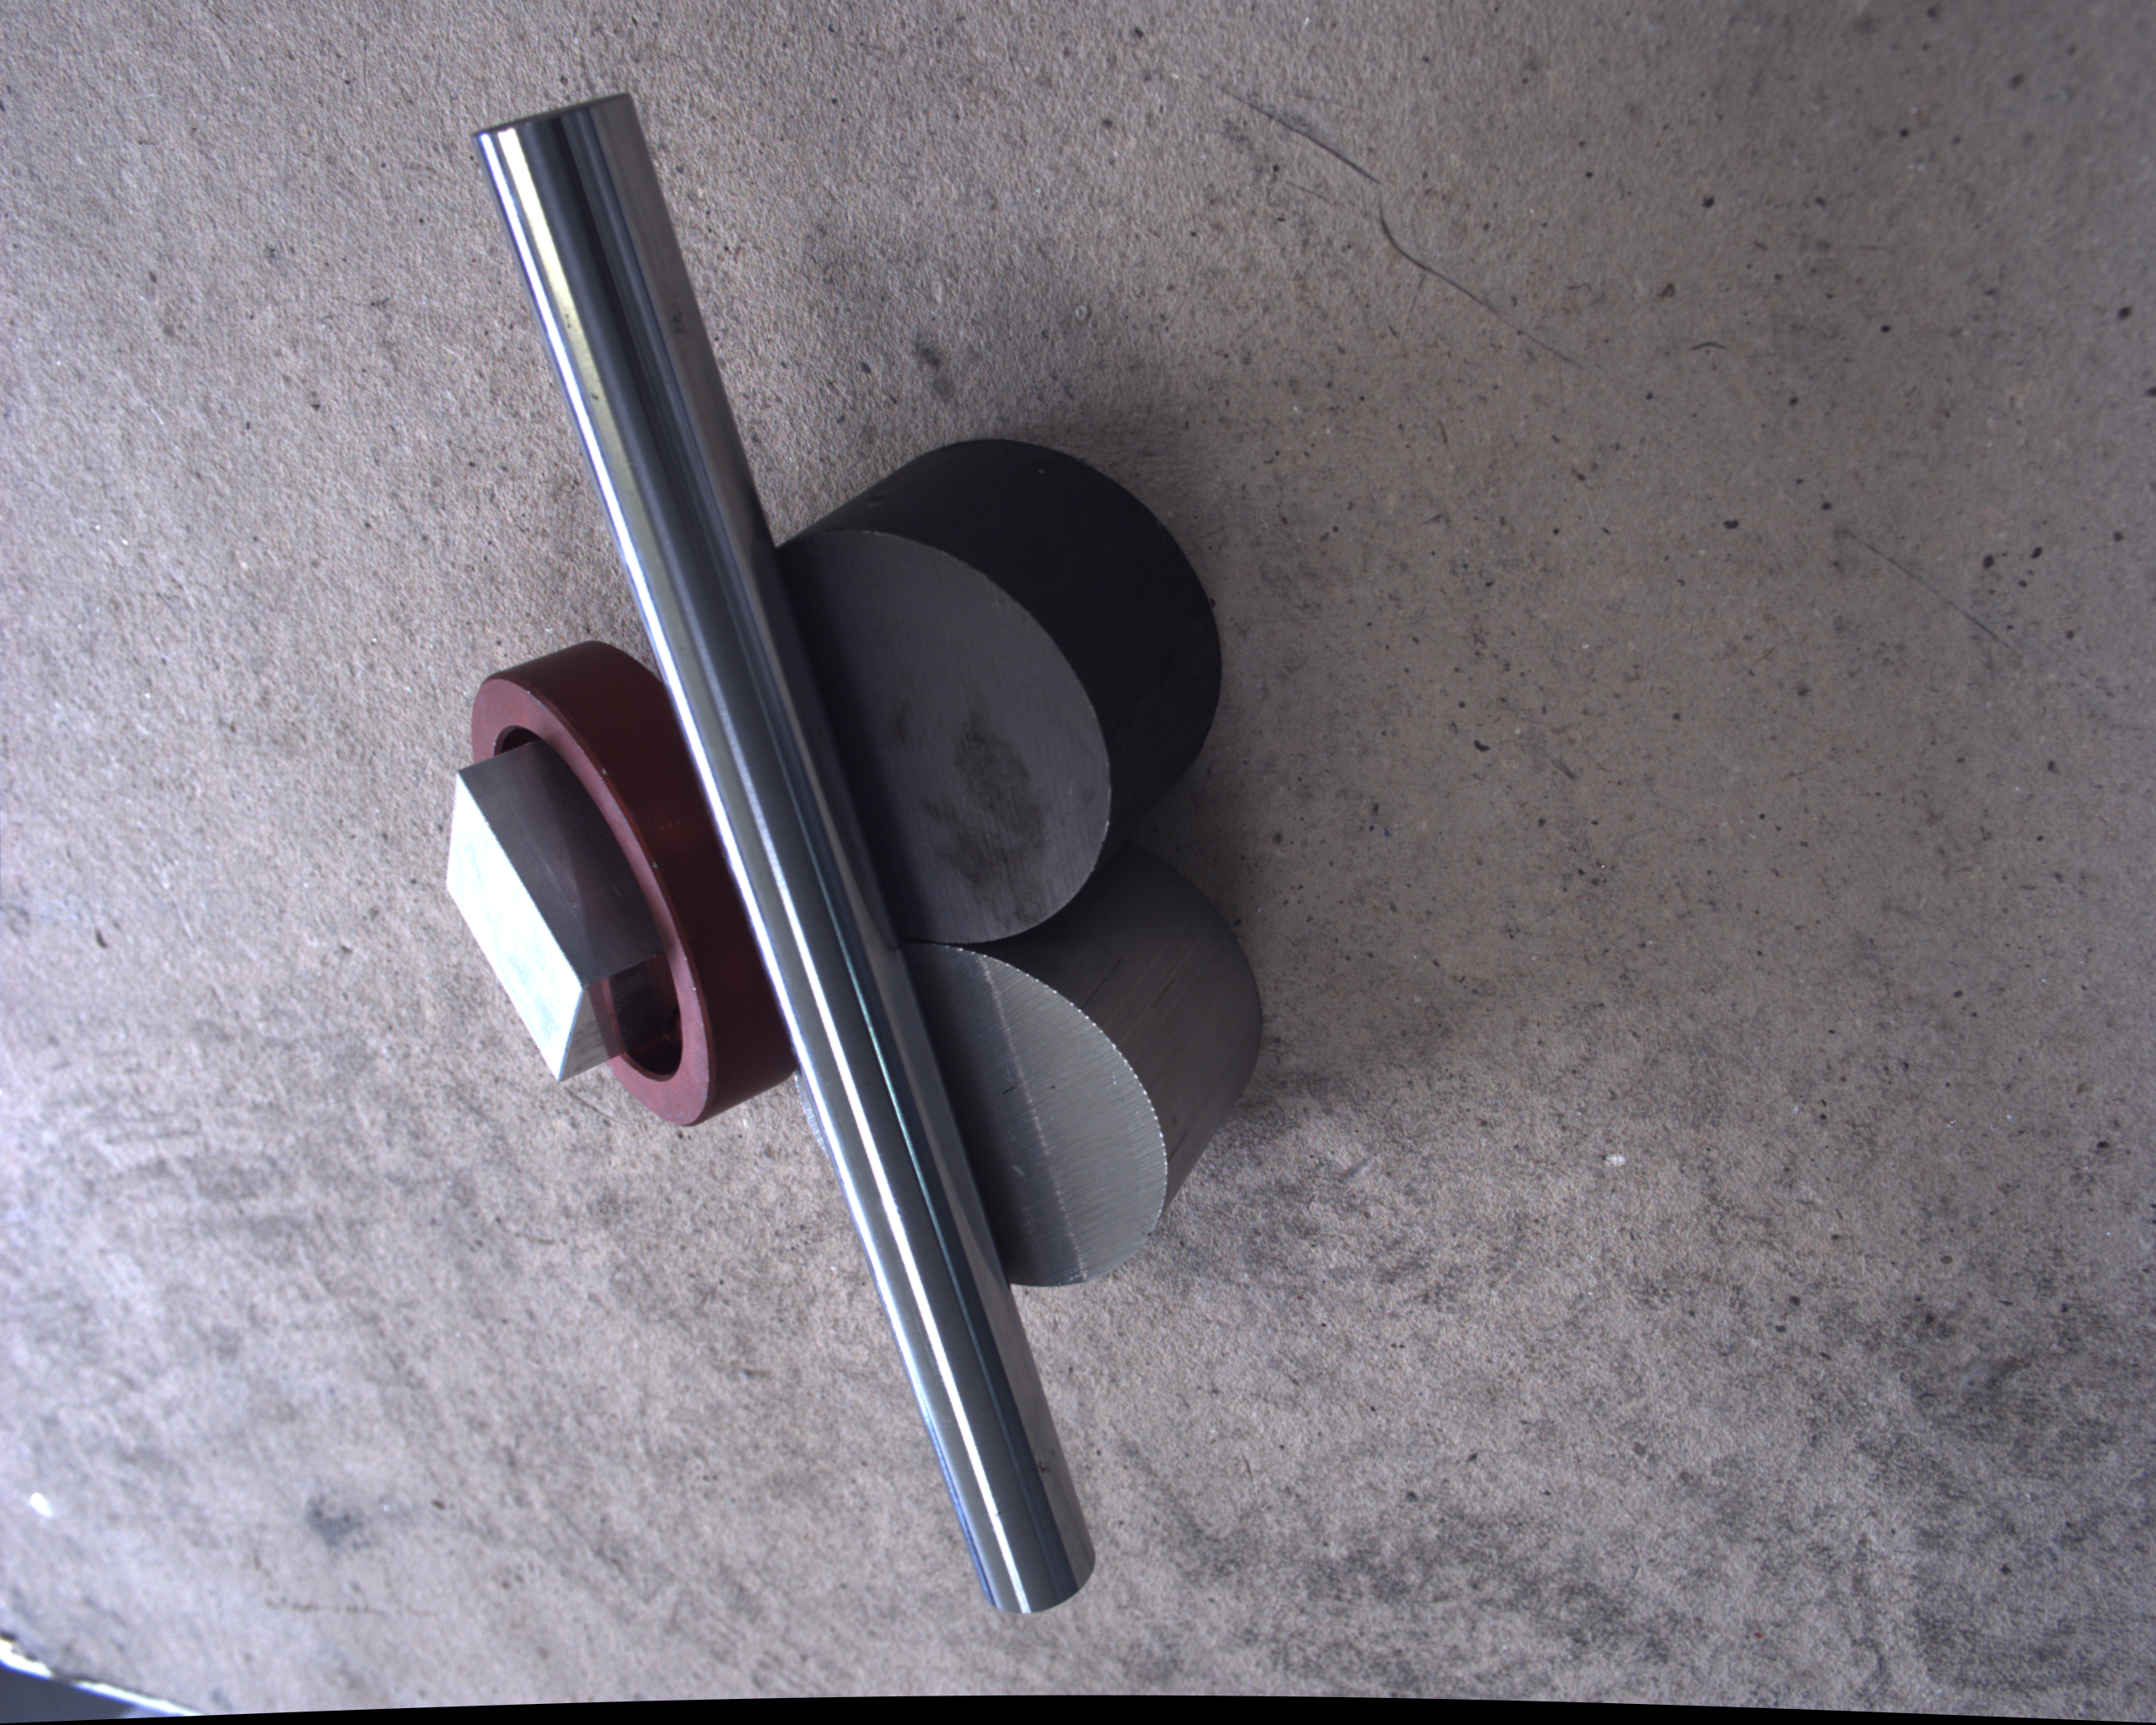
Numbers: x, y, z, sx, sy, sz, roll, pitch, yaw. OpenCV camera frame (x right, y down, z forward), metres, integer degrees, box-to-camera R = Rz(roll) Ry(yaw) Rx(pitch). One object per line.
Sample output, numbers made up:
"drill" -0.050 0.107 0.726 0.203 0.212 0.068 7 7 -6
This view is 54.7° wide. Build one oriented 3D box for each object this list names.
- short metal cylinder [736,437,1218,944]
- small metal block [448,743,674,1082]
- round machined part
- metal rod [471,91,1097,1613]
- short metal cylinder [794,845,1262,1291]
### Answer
"short metal cylinder" -0.021 -0.032 0.384 0.080 0.050 0.079 13 124 21
"small metal block" -0.101 0.009 0.415 0.050 0.025 0.050 57 151 14
"round machined part" -0.081 0.001 0.424 0.098 0.042 0.097 40 143 39
"metal rod" -0.044 0.017 0.378 0.025 0.025 0.298 -1 118 29
"short metal cylinder" -0.010 0.039 0.421 0.080 0.050 0.079 13 123 21
